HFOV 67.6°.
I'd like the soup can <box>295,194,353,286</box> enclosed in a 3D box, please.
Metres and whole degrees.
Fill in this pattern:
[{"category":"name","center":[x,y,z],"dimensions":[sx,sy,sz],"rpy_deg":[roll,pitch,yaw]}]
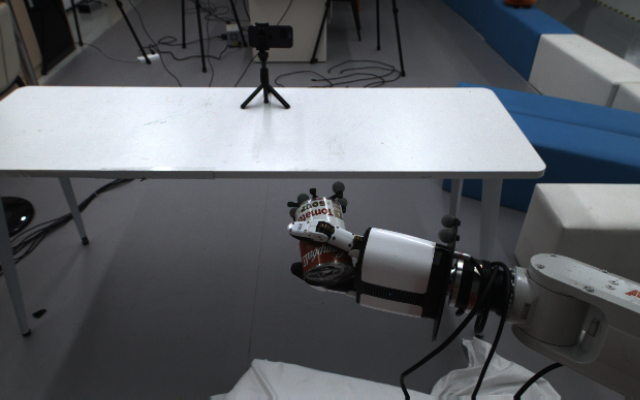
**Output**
[{"category":"soup can","center":[0.006,0.055,0.651],"dimensions":[0.067,0.067,0.101],"rpy_deg":[-5,57,-10]}]
